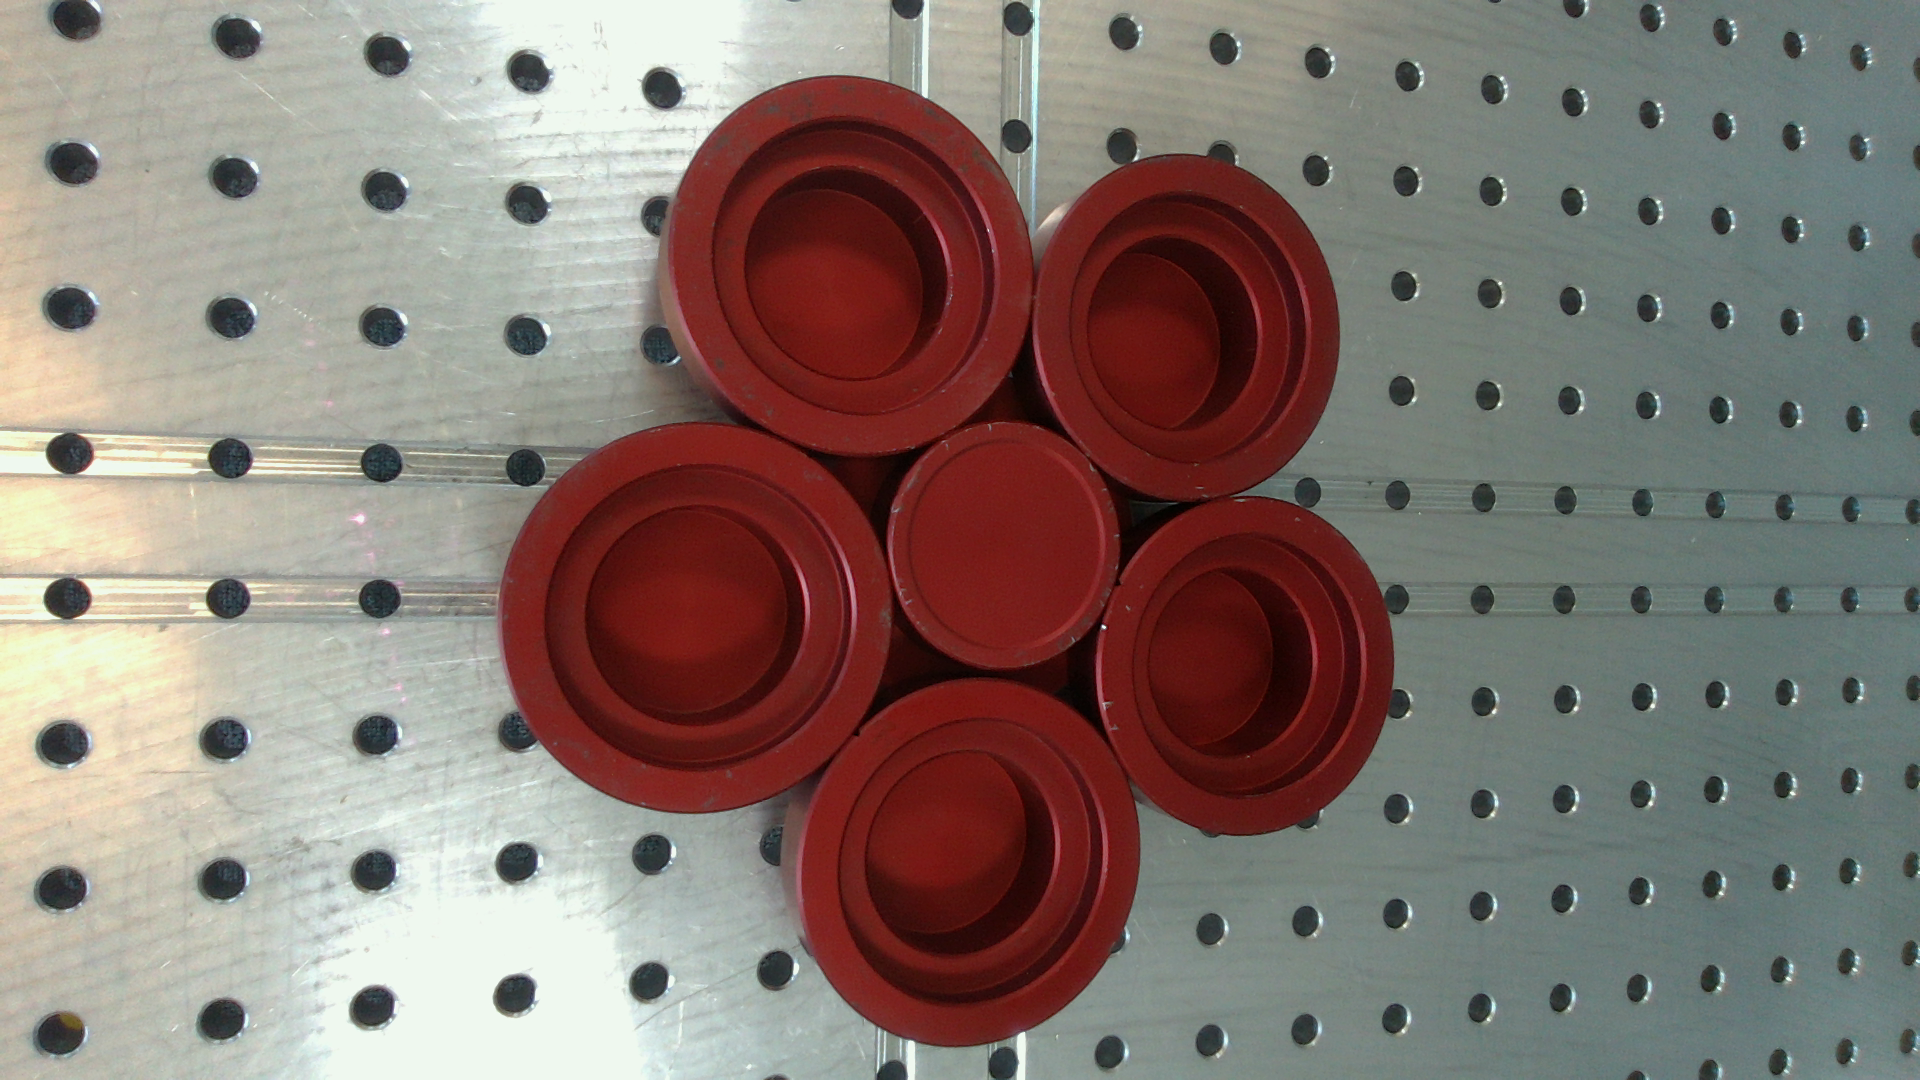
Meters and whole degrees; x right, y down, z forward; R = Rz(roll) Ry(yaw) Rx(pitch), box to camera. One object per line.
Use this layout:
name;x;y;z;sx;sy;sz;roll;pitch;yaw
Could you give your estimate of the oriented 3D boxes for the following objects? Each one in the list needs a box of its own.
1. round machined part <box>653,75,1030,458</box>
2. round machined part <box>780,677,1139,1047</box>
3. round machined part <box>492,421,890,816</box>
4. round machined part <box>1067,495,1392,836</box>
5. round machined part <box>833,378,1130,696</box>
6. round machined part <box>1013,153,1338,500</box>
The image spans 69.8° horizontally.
round machined part;-0.034;-0.071;0.374;0.098;0.042;0.098;0;90;-20
round machined part;-0.003;0.086;0.385;0.098;0.042;0.098;0;90;-20
round machined part;-0.071;0.019;0.360;0.098;0.042;0.098;0;90;-20
round machined part;0.077;0.036;0.415;0.098;0.042;0.098;0;90;-20
round machined part;0.005;0.001;0.388;0.098;0.042;0.098;0;90;-20
round machined part;0.059;-0.060;0.408;0.098;0.042;0.098;0;90;-20
